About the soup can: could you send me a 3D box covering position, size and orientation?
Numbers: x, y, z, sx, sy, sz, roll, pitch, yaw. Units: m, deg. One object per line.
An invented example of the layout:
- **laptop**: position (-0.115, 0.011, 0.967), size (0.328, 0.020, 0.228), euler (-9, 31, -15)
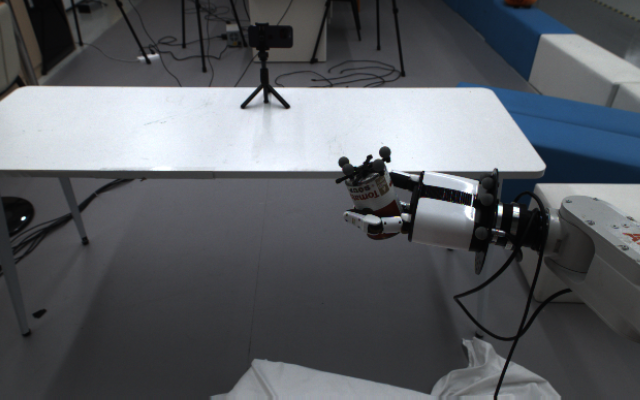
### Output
- **soup can**: position (0.087, 0.000, 0.740), size (0.067, 0.101, 0.067), euler (-21, 24, 10)
